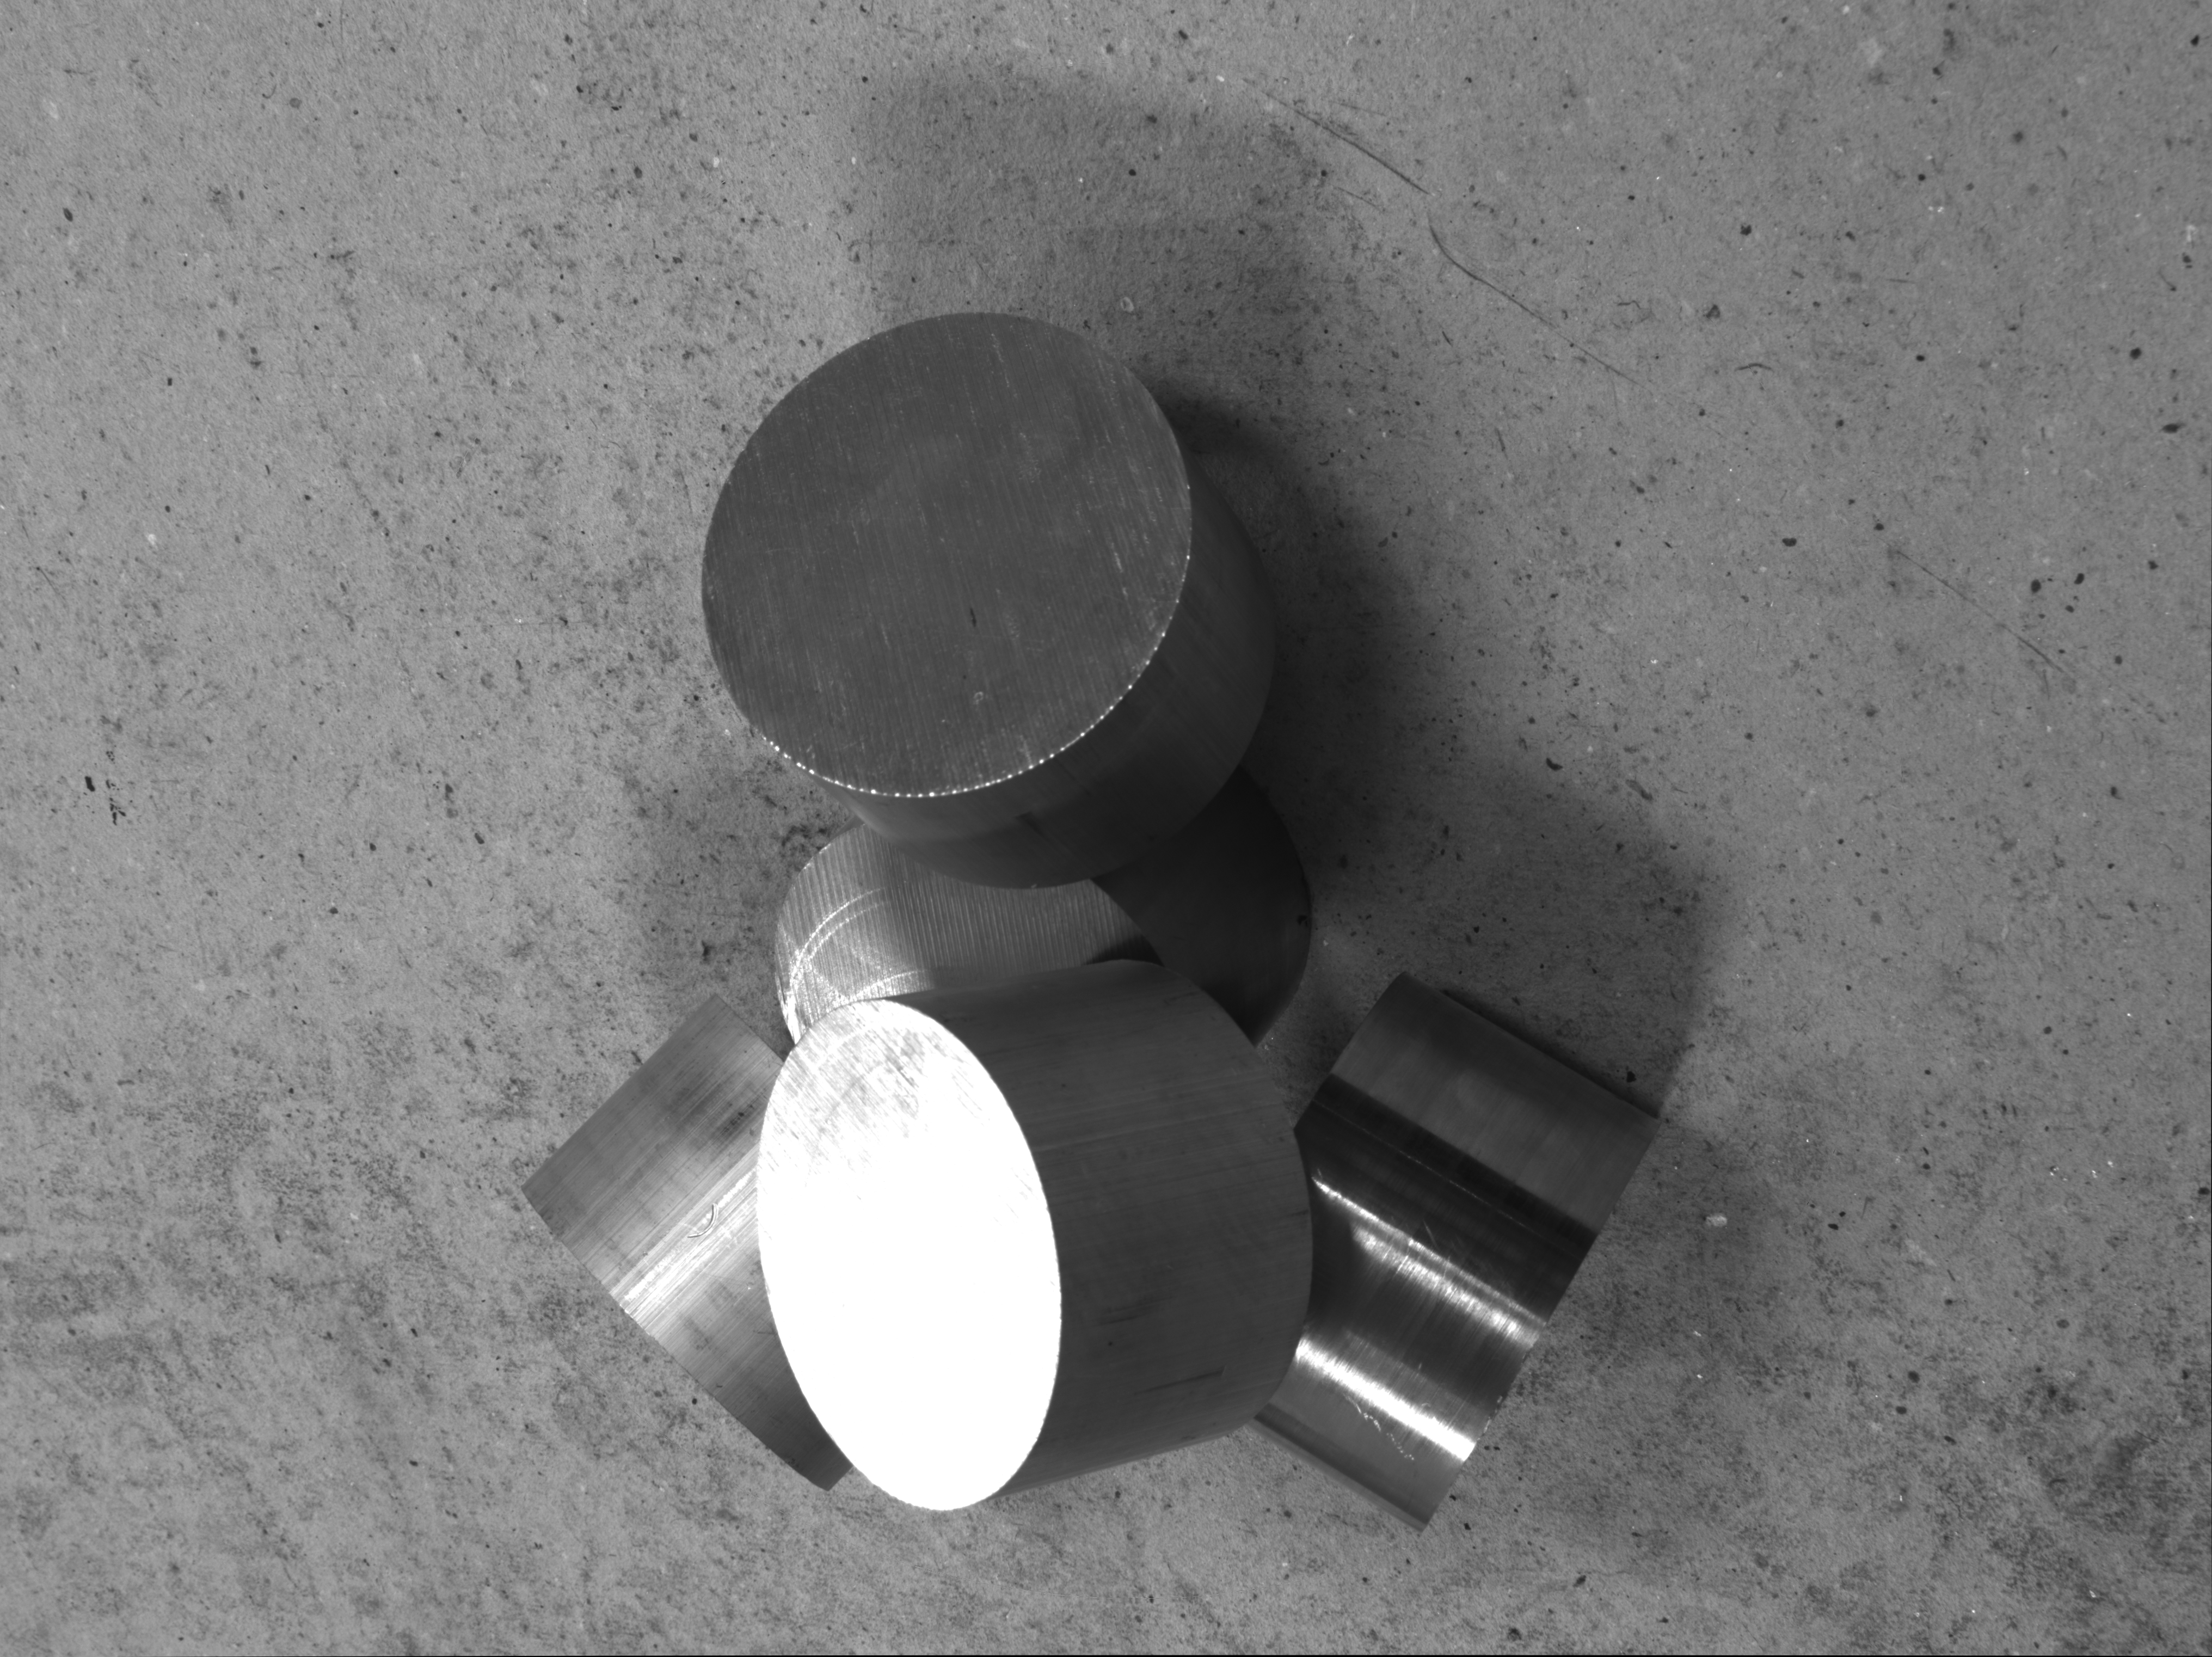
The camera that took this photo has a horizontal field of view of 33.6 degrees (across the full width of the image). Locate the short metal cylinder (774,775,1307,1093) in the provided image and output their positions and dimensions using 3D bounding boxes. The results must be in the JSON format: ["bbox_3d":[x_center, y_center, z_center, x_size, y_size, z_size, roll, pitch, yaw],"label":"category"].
[{"bbox_3d":[-0.011,0.021,0.645,0.080,0.050,0.080,13,123,21],"label":"short metal cylinder"}]

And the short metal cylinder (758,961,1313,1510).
[{"bbox_3d":[-0.012,0.064,0.586,0.080,0.050,0.080,11,105,50],"label":"short metal cylinder"}]

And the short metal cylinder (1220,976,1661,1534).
[{"bbox_3d":[0.053,0.072,0.623,0.050,0.080,0.080,30,128,9],"label":"short metal cylinder"}]

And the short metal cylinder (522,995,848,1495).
[{"bbox_3d":[-0.062,0.077,0.680,0.080,0.050,0.080,44,174,7],"label":"short metal cylinder"}]

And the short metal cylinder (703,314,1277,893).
[{"bbox_3d":[-0.018,-0.035,0.587,0.080,0.080,0.050,13,167,21],"label":"short metal cylinder"}]
